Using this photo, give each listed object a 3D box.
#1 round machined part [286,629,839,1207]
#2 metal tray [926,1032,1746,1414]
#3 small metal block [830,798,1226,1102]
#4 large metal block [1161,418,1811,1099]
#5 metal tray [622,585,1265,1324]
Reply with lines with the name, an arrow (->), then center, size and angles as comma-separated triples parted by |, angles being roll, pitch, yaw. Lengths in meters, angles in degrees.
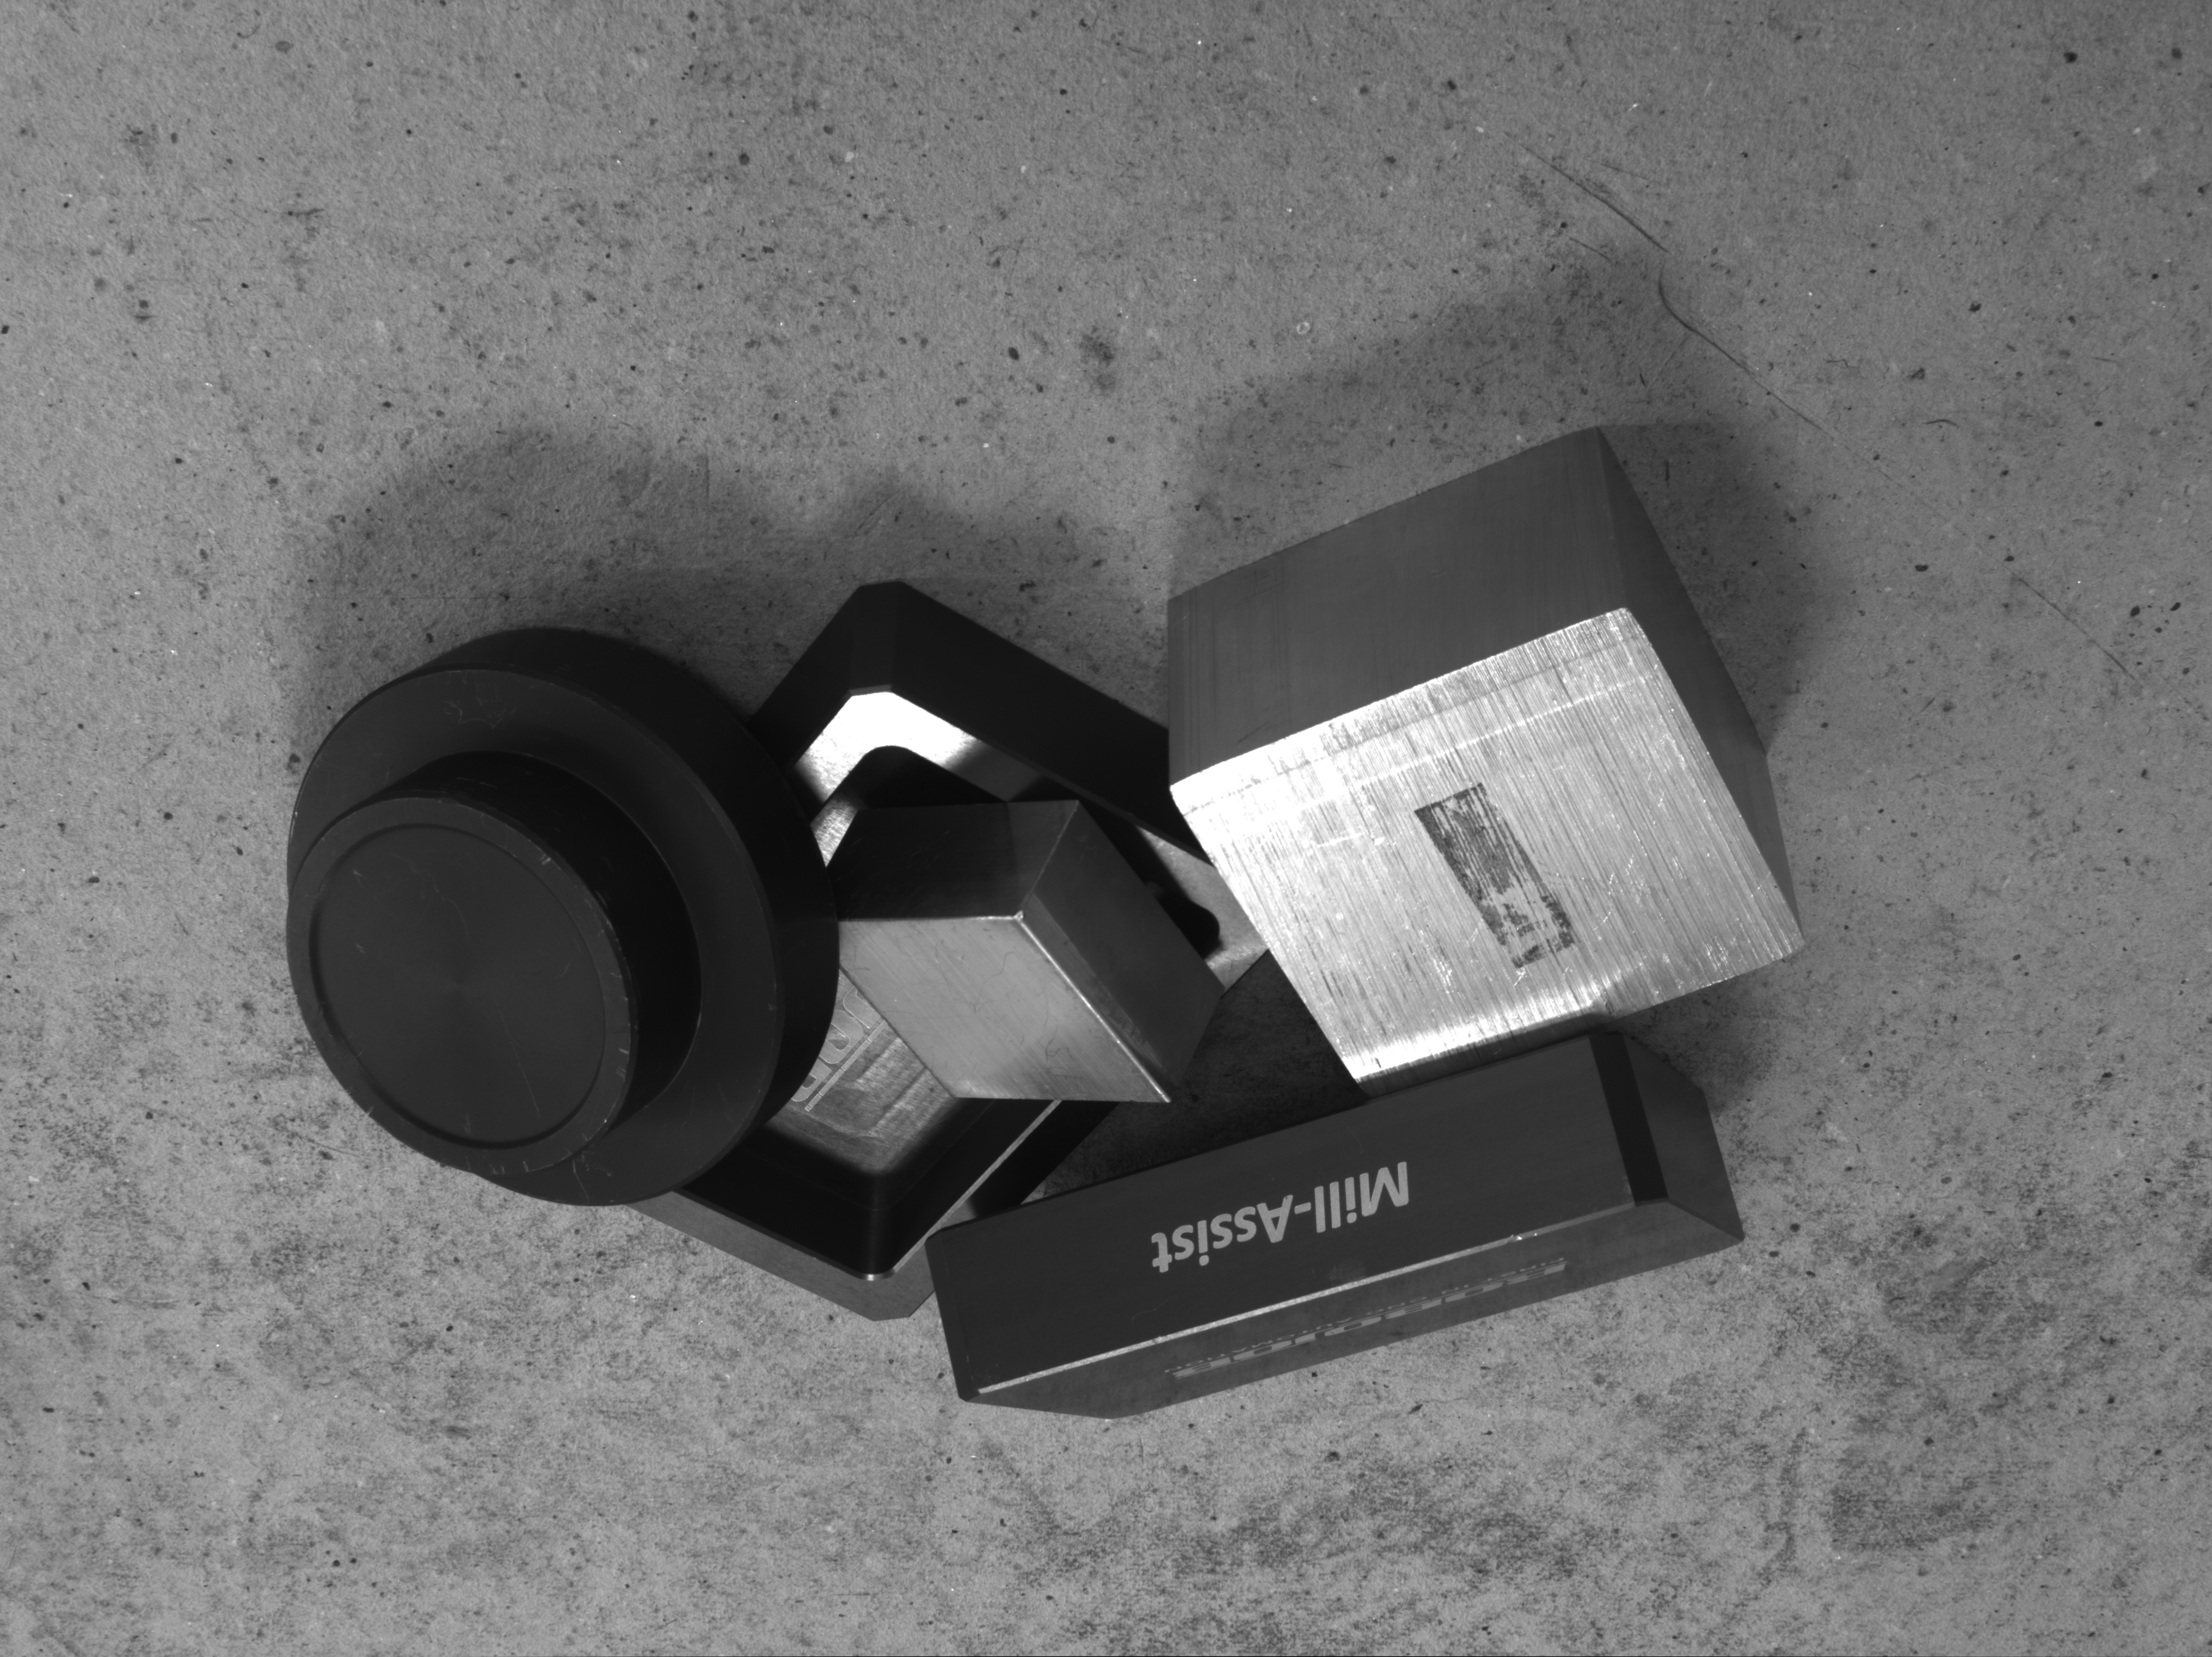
round machined part -> -0.098, 0.019, 0.617 | 0.098, 0.042, 0.098 | 9, 113, 22
metal tray -> 0.044, 0.075, 0.669 | 0.130, 0.030, 0.090 | -18, 164, 15
small metal block -> -0.016, 0.021, 0.628 | 0.050, 0.025, 0.050 | -2, 139, 40
large metal block -> 0.063, -0.010, 0.616 | 0.080, 0.050, 0.080 | -21, 127, 17
metal tray -> -0.040, 0.026, 0.658 | 0.090, 0.030, 0.130 | 28, 125, -21
